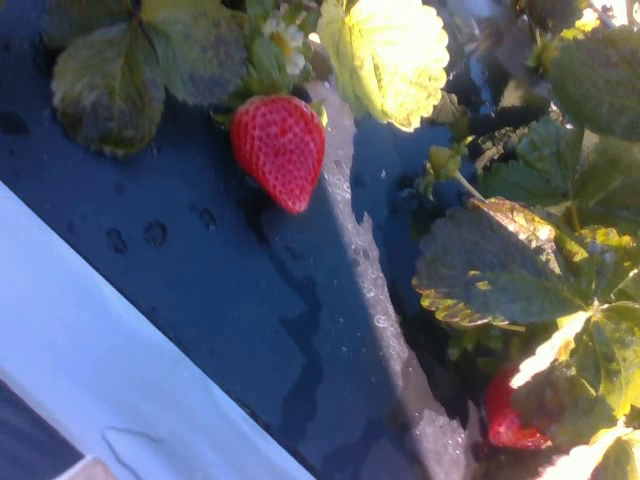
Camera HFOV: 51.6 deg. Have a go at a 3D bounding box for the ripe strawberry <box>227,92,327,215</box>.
[{"bbox_3d":[-0.014,-0.033,0.260,0.045,0.059,0.042,-9,-17,3],"label":"ripe strawberry"}]
